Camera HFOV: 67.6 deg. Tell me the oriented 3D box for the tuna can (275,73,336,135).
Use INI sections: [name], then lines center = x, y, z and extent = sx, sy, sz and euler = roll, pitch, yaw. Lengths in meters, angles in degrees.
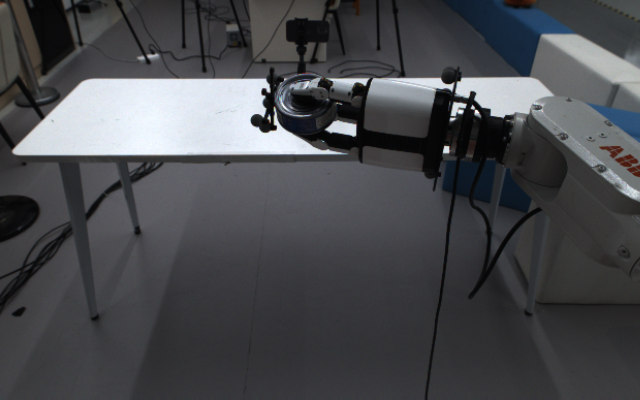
[tuna can]
center = -0.019, -0.134, 0.666
extent = 0.085, 0.034, 0.085
euler = -2, 58, 3
